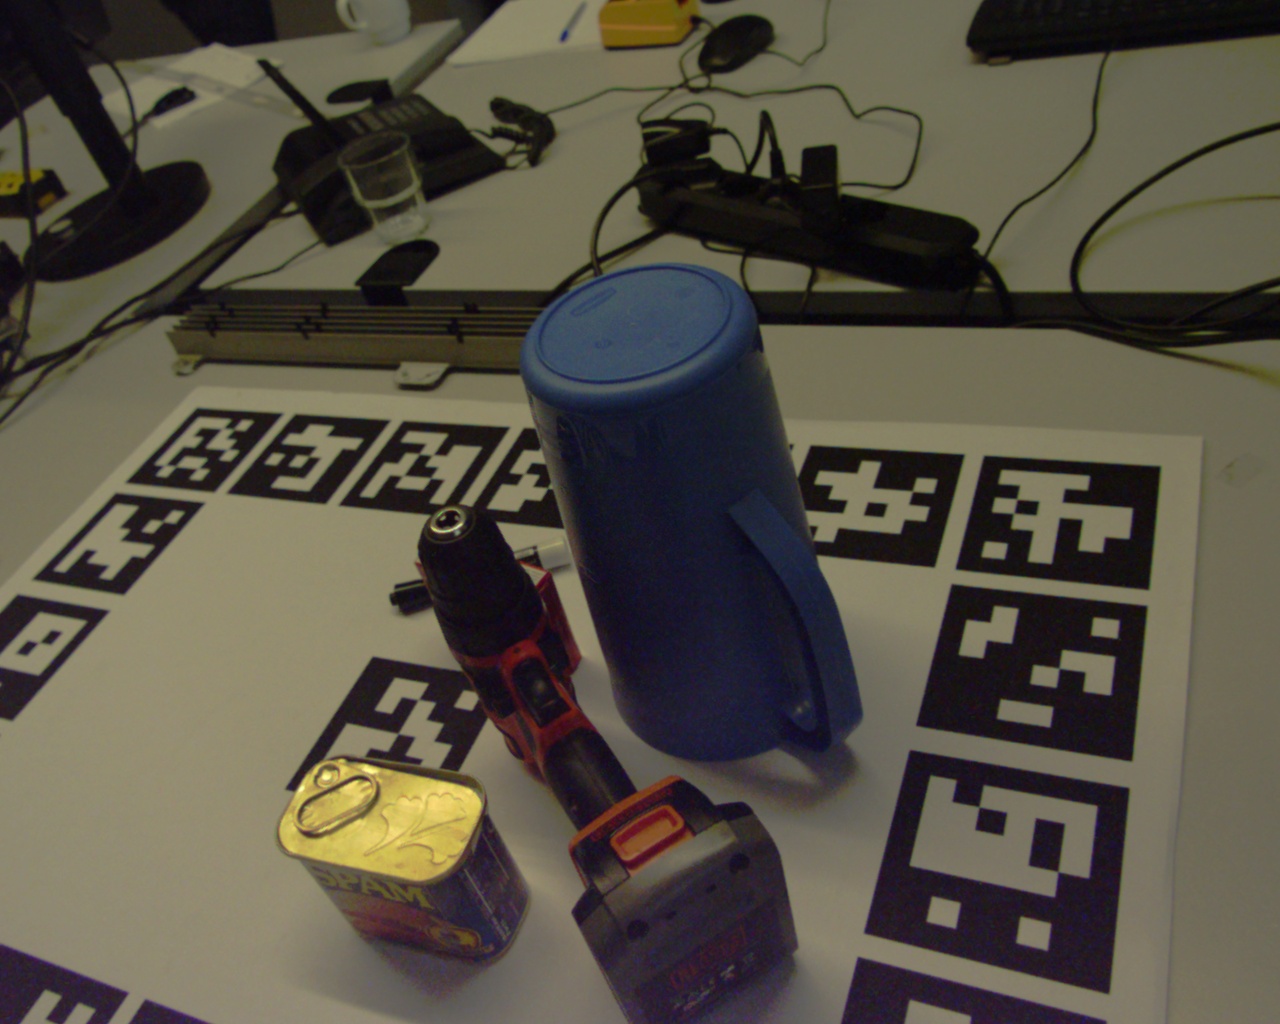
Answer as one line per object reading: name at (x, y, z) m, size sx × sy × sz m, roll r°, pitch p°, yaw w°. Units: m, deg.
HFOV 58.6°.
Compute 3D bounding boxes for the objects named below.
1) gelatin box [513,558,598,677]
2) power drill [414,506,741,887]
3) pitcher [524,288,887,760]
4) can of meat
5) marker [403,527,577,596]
gelatin box at (-0.077, 0.060, 0.703) m, size 0.090 × 0.072 × 0.030 m, roll 15°, pitch 55°, yaw 30°
power drill at (-0.035, 0.098, 0.565) m, size 0.057 × 0.183 × 0.189 m, roll -35°, pitch 50°, yaw -15°
pitcher at (0.038, 0.013, 0.594) m, size 0.132 × 0.240 × 0.191 m, roll -37°, pitch 38°, yaw -16°
can of meat at (-0.108, 0.171, 0.583) m, size 0.103 × 0.083 × 0.057 m, roll 4°, pitch 44°, yaw 23°
marker at (-0.103, 0.035, 0.775) m, size 0.121 × 0.019 × 0.020 m, roll -15°, pitch 42°, yaw 6°
